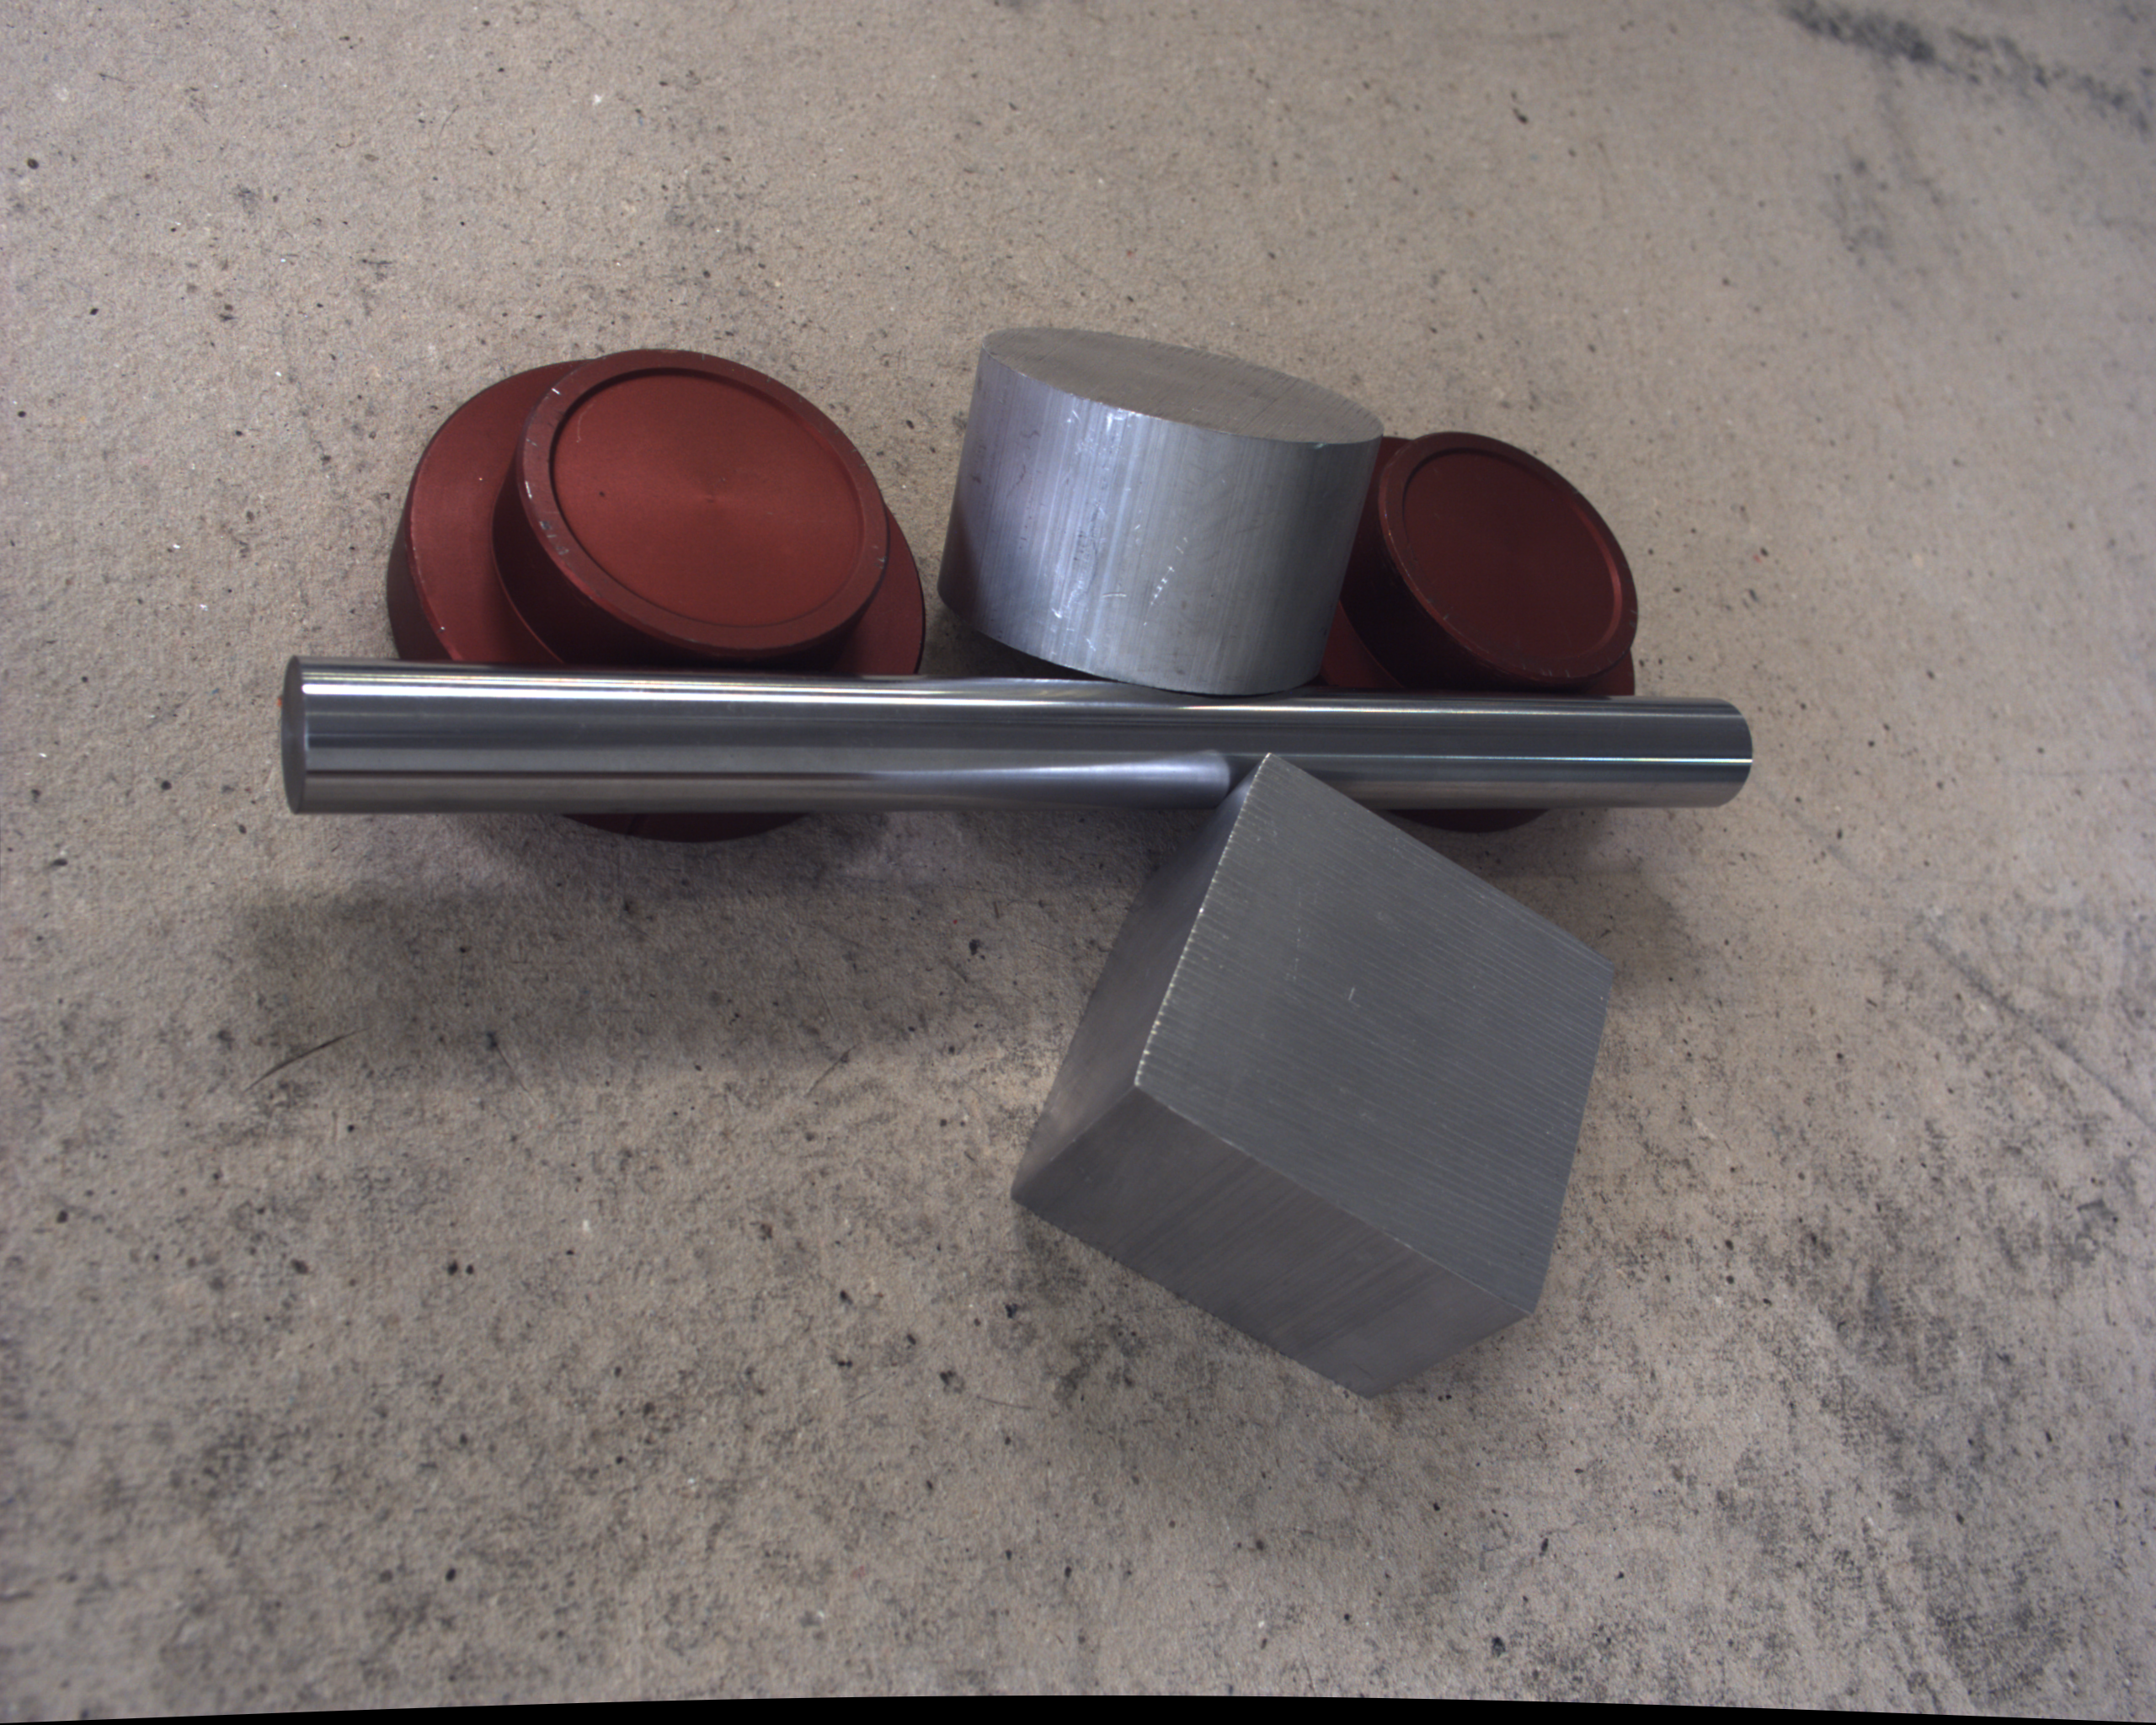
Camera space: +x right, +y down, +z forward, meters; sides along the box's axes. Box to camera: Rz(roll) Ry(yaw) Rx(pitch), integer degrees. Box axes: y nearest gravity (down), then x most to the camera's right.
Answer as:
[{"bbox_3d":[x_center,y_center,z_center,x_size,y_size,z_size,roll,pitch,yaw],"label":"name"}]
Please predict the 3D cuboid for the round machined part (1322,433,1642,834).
[{"bbox_3d":[0.088,-0.059,0.478,0.099,0.042,0.098,14,56,-21],"label":"round machined part"}]

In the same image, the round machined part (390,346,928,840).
[{"bbox_3d":[-0.074,-0.056,0.388,0.099,0.042,0.098,14,56,-21],"label":"round machined part"}]

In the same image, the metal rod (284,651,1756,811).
[{"bbox_3d":[0.011,-0.023,0.398,0.303,0.025,0.025,-1,62,-29],"label":"metal rod"}]

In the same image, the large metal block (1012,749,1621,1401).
[{"bbox_3d":[0.046,0.040,0.387,0.080,0.050,0.080,31,52,-9],"label":"large metal block"}]

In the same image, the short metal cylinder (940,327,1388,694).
[{"bbox_3d":[0.016,-0.072,0.418,0.081,0.050,0.080,11,23,-4],"label":"short metal cylinder"}]
